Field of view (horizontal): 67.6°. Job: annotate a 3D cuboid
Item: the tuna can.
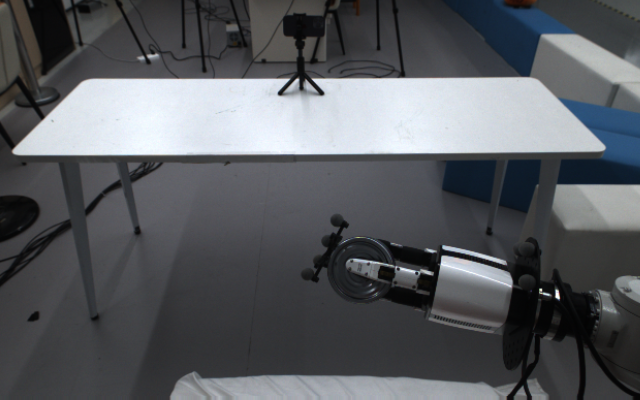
[{"bbox_3d":[0.056,0.087,0.617,0.085,0.085,0.034,9,-5,10],"label":"tuna can"}]
